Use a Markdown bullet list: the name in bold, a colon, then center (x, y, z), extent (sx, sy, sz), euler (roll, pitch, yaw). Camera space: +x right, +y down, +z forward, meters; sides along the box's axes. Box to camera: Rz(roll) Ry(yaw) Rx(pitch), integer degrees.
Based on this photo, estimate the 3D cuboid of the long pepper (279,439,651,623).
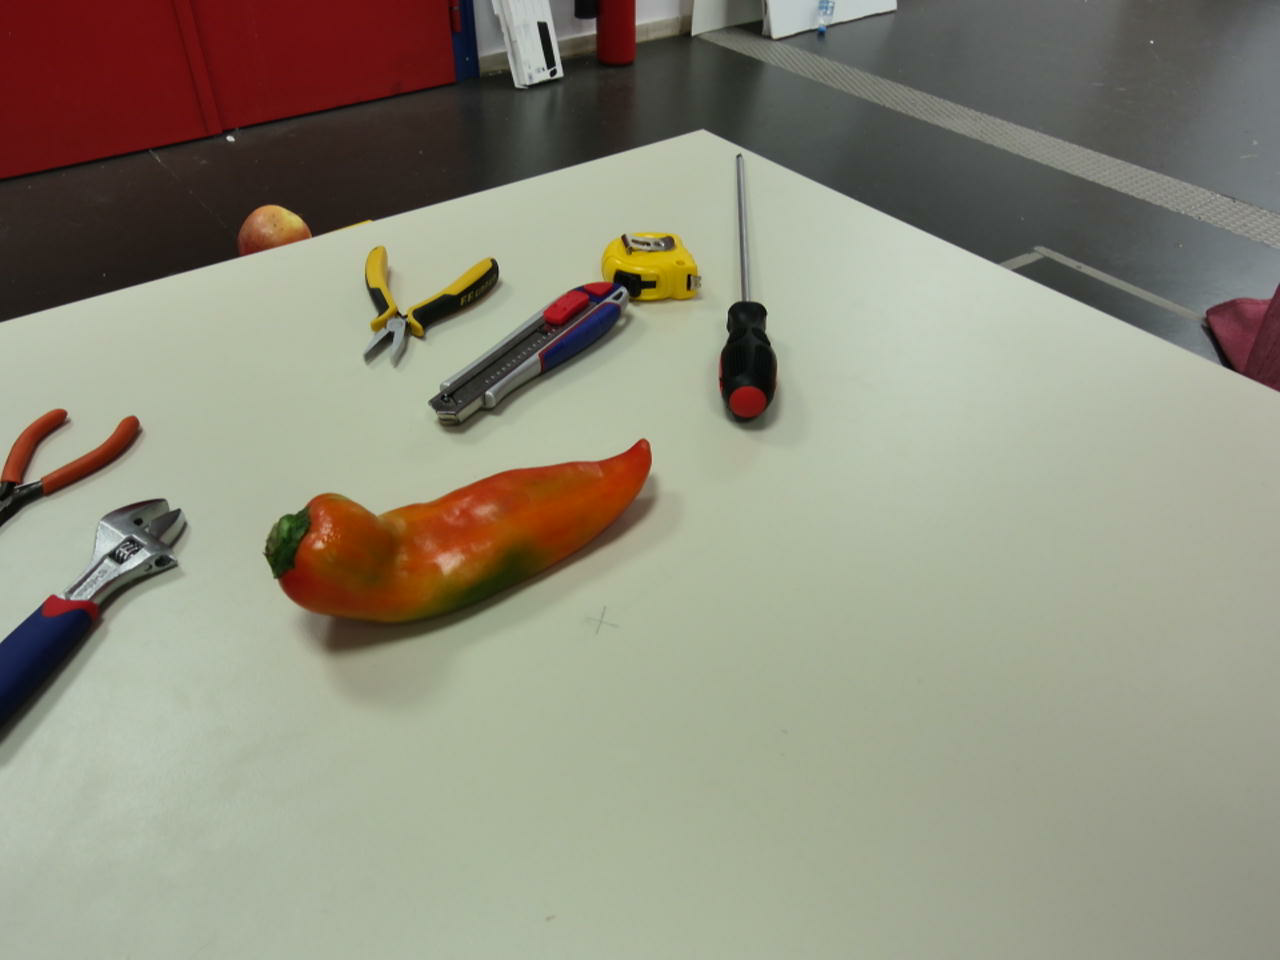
- **long pepper**: center (-0.074, 0.013, 0.482), extent (0.199, 0.065, 0.066), euler (-22, 43, -25)
